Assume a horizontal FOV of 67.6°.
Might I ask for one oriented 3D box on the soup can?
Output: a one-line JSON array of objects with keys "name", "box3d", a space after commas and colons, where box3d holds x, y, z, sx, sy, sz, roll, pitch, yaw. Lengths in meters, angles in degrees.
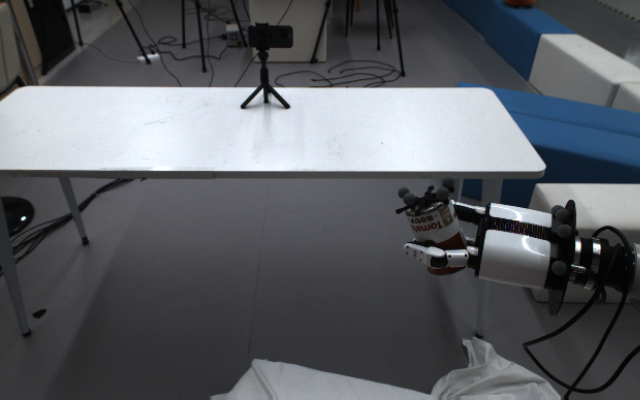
[{"name": "soup can", "box3d": [0.173, 0.047, 0.699, 0.067, 0.101, 0.067, -23, 16, 7]}]
